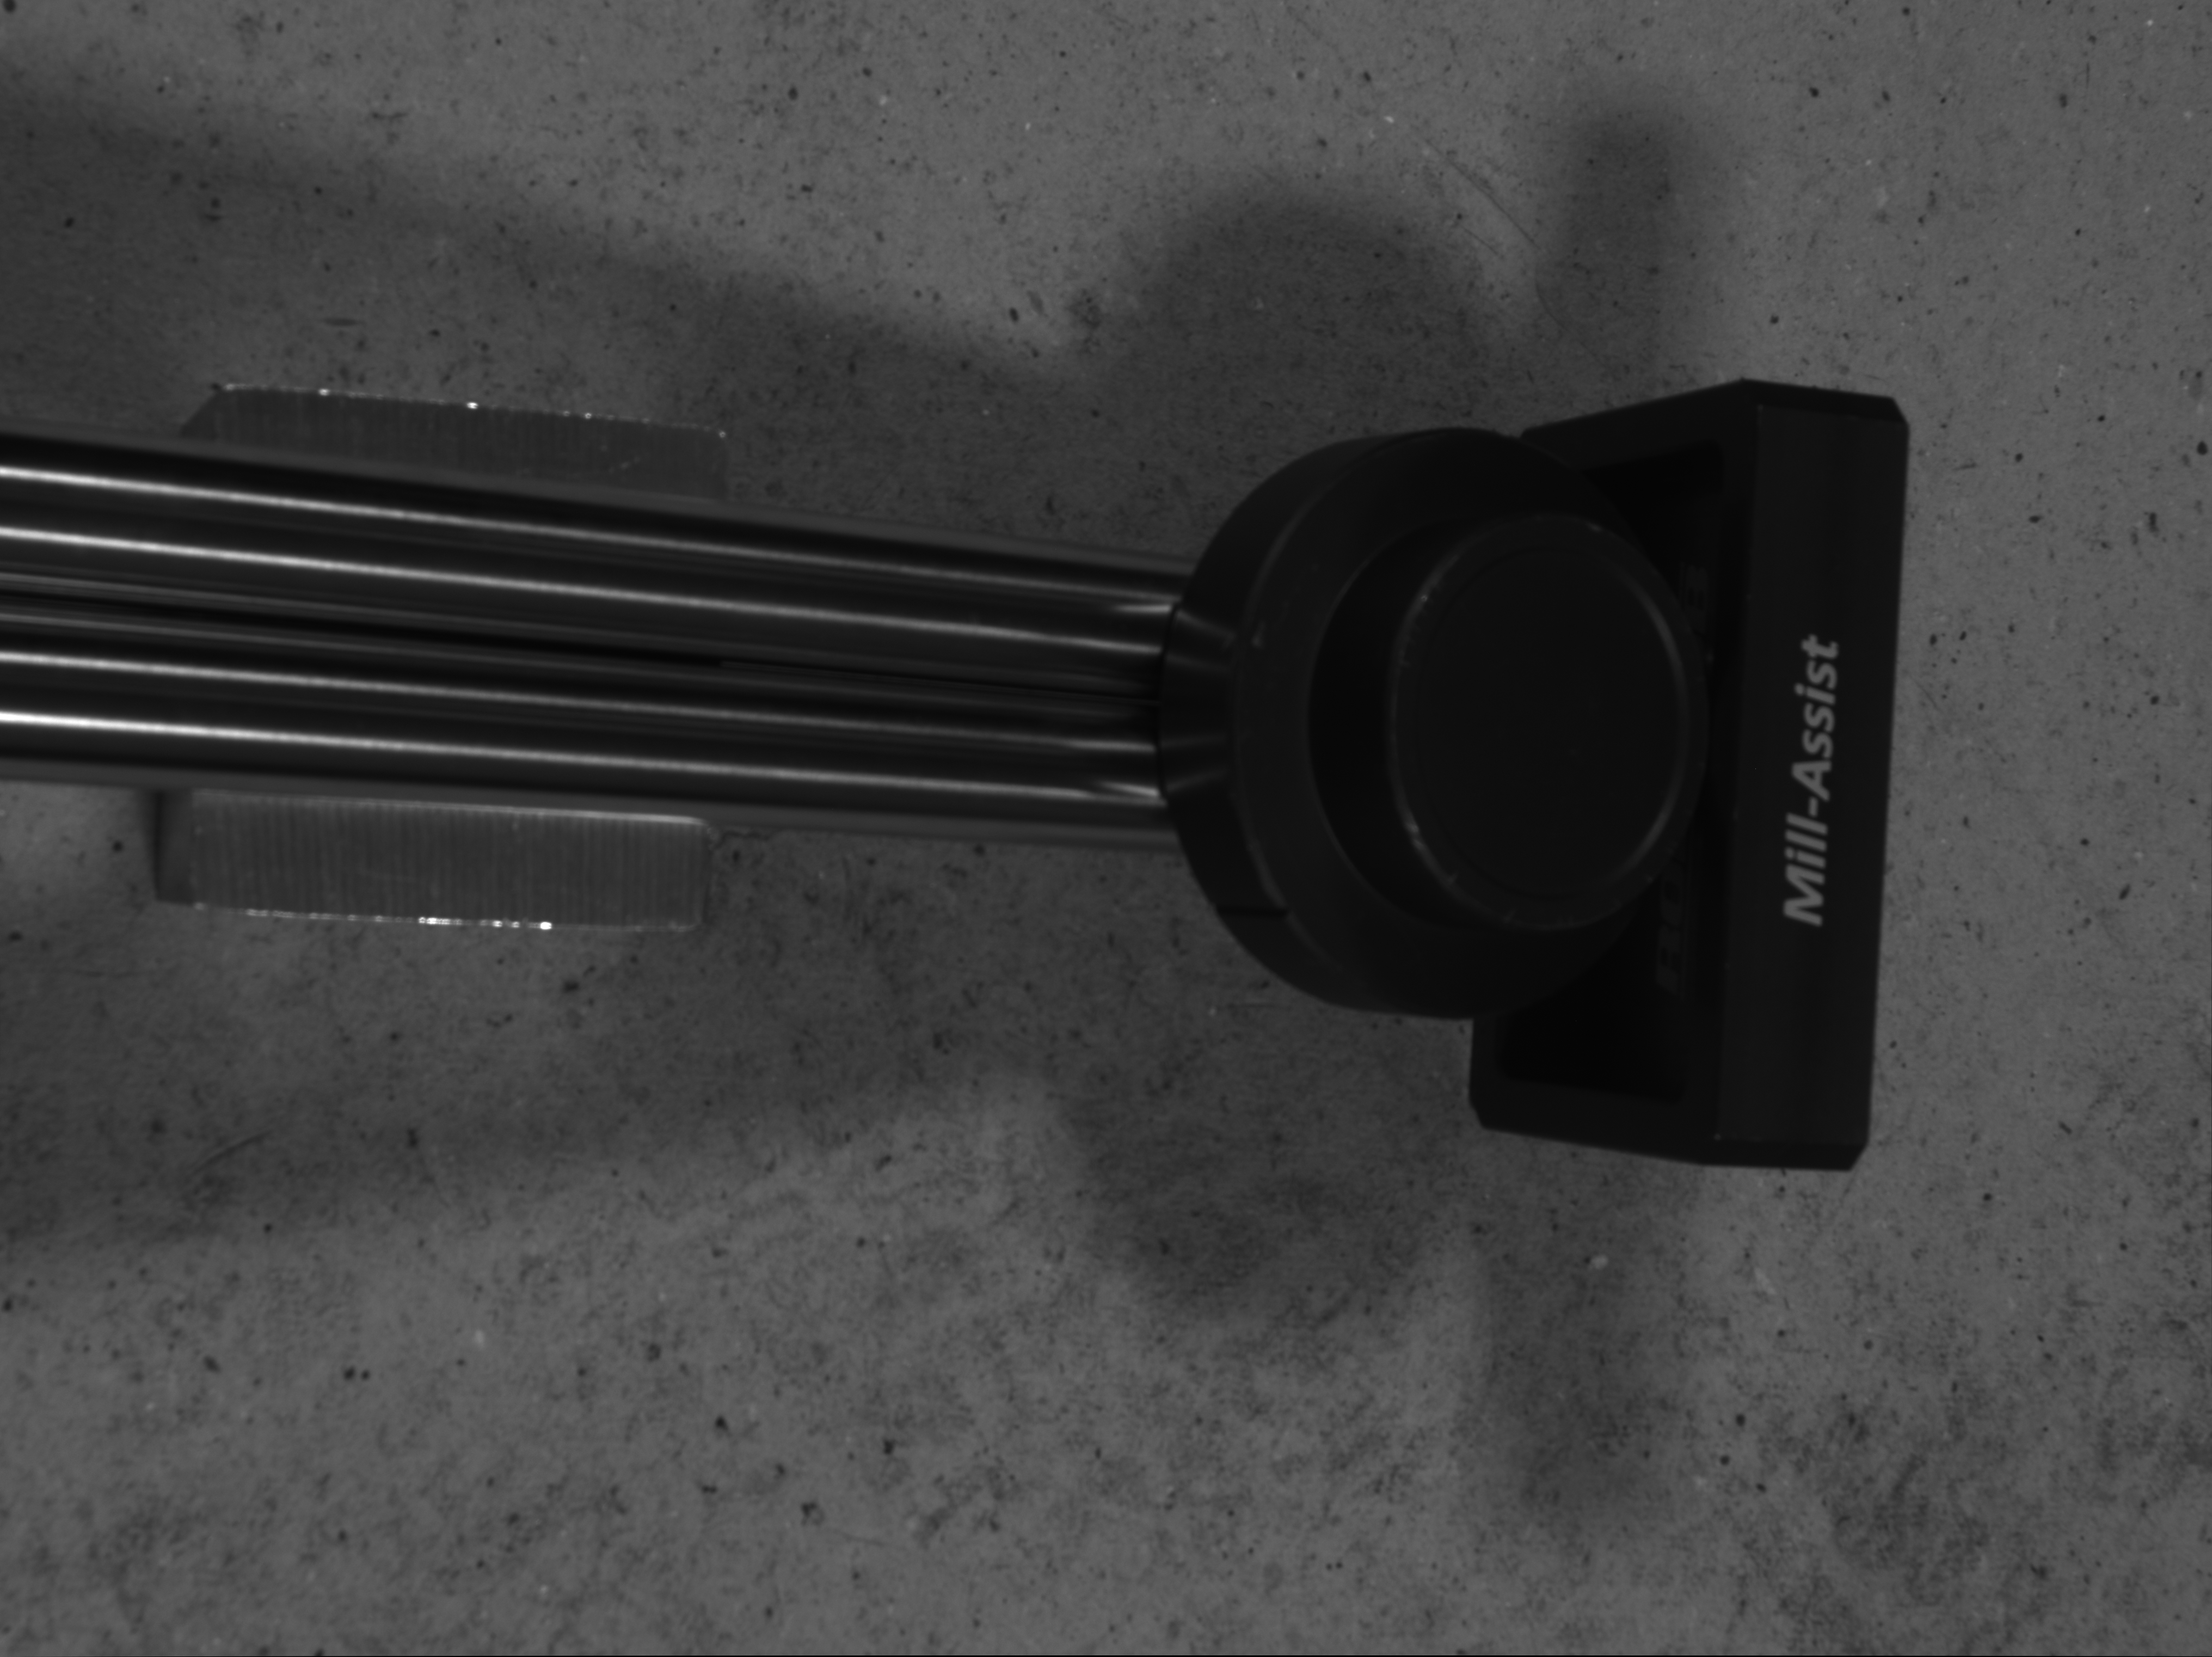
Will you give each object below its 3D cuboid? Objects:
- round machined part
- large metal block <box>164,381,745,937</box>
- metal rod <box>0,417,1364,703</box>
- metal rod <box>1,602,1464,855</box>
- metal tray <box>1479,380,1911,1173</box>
[{"bbox_3d":[0.060,-0.017,0.605,0.098,0.042,0.098,-1,93,-30],"label":"round machined part"},{"bbox_3d":[-0.105,-0.025,0.588,0.080,0.050,0.080,4,89,-20],"label":"large metal block"},{"bbox_3d":[-0.036,-0.038,0.583,0.301,0.025,0.025,3,89,-32],"label":"metal rod"},{"bbox_3d":[-0.038,-0.011,0.582,0.301,0.025,0.025,4,89,-32],"label":"metal rod"},{"bbox_3d":[0.102,-0.008,0.645,0.030,0.090,0.130,4,89,-20],"label":"metal tray"}]
